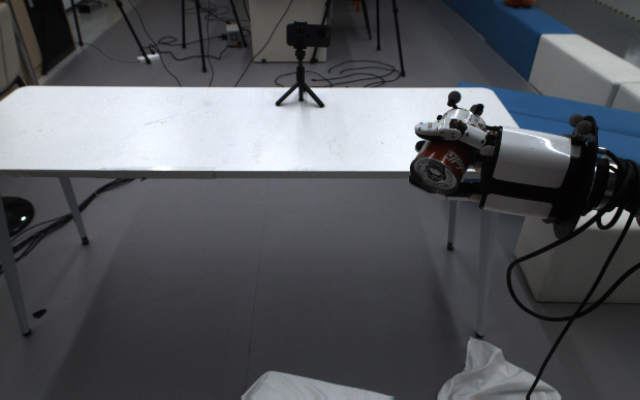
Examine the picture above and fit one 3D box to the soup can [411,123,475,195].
[{"bbox_3d":[0.176,-0.068,0.652,0.067,0.067,0.101,22,61,26],"label":"soup can"}]
